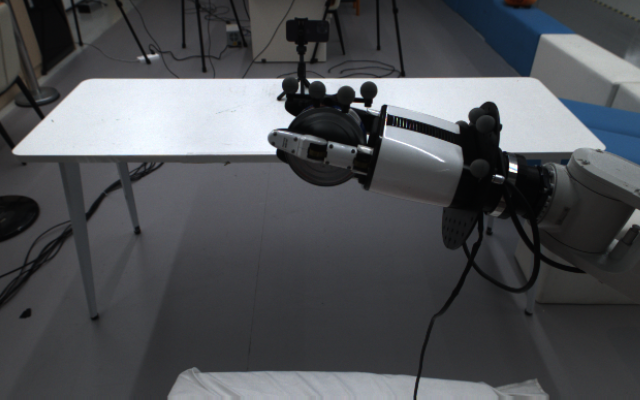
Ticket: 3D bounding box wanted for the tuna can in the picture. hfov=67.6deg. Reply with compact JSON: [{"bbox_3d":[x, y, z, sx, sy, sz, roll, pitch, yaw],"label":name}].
[{"bbox_3d":[0.010,-0.055,0.510,0.085,0.085,0.034,6,23,6],"label":"tuna can"}]
